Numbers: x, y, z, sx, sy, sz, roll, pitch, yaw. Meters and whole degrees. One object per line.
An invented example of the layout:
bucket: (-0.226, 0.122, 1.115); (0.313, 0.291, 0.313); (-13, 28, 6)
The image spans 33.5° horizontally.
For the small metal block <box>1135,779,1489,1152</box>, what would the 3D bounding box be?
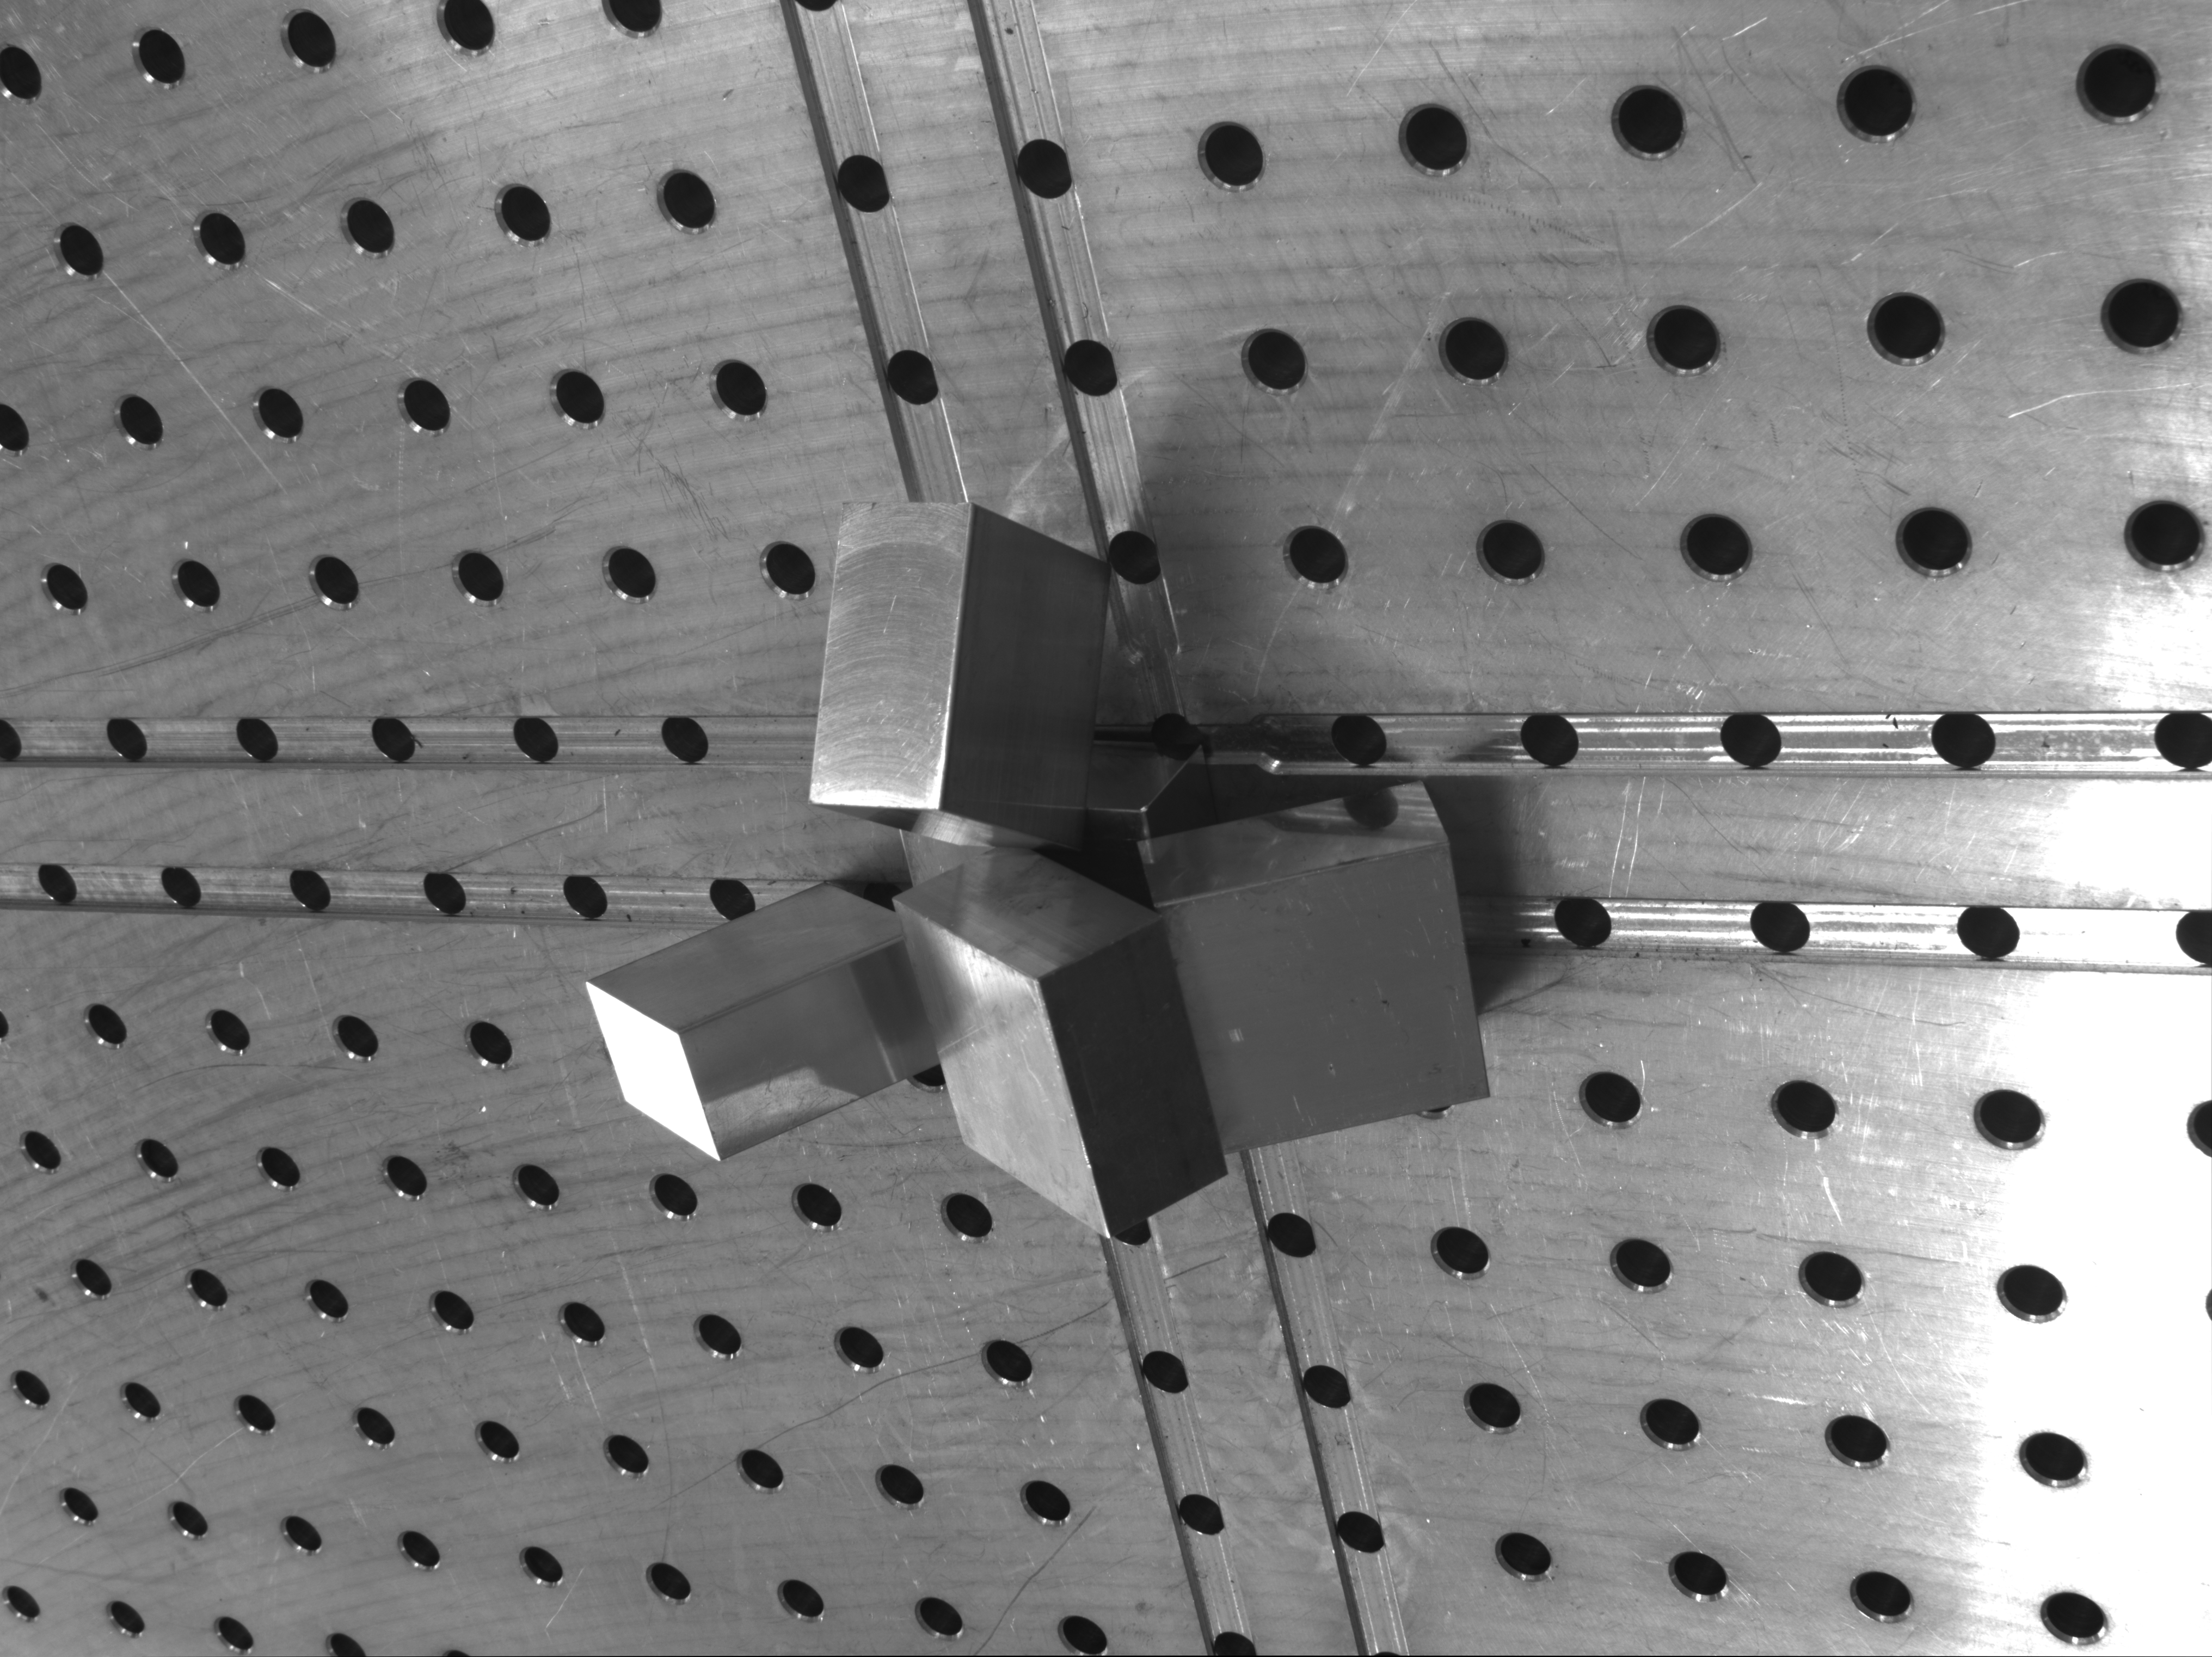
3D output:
small metal block: (0.035, 0.024, 0.628); (0.050, 0.025, 0.050); (-12, 116, -1)

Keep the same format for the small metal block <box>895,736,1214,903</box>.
small metal block: (-0.007, 0.011, 0.657); (0.050, 0.025, 0.050); (2, 119, 27)

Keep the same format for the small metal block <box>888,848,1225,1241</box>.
small metal block: (-0.009, 0.035, 0.625); (0.050, 0.025, 0.050); (26, 136, 56)

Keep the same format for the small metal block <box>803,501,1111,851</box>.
small metal block: (-0.024, -0.025, 0.615); (0.025, 0.050, 0.050); (3, 84, 28)

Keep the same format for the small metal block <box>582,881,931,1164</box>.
small metal block: (-0.061, 0.034, 0.671); (0.050, 0.050, 0.025); (19, 128, 62)
